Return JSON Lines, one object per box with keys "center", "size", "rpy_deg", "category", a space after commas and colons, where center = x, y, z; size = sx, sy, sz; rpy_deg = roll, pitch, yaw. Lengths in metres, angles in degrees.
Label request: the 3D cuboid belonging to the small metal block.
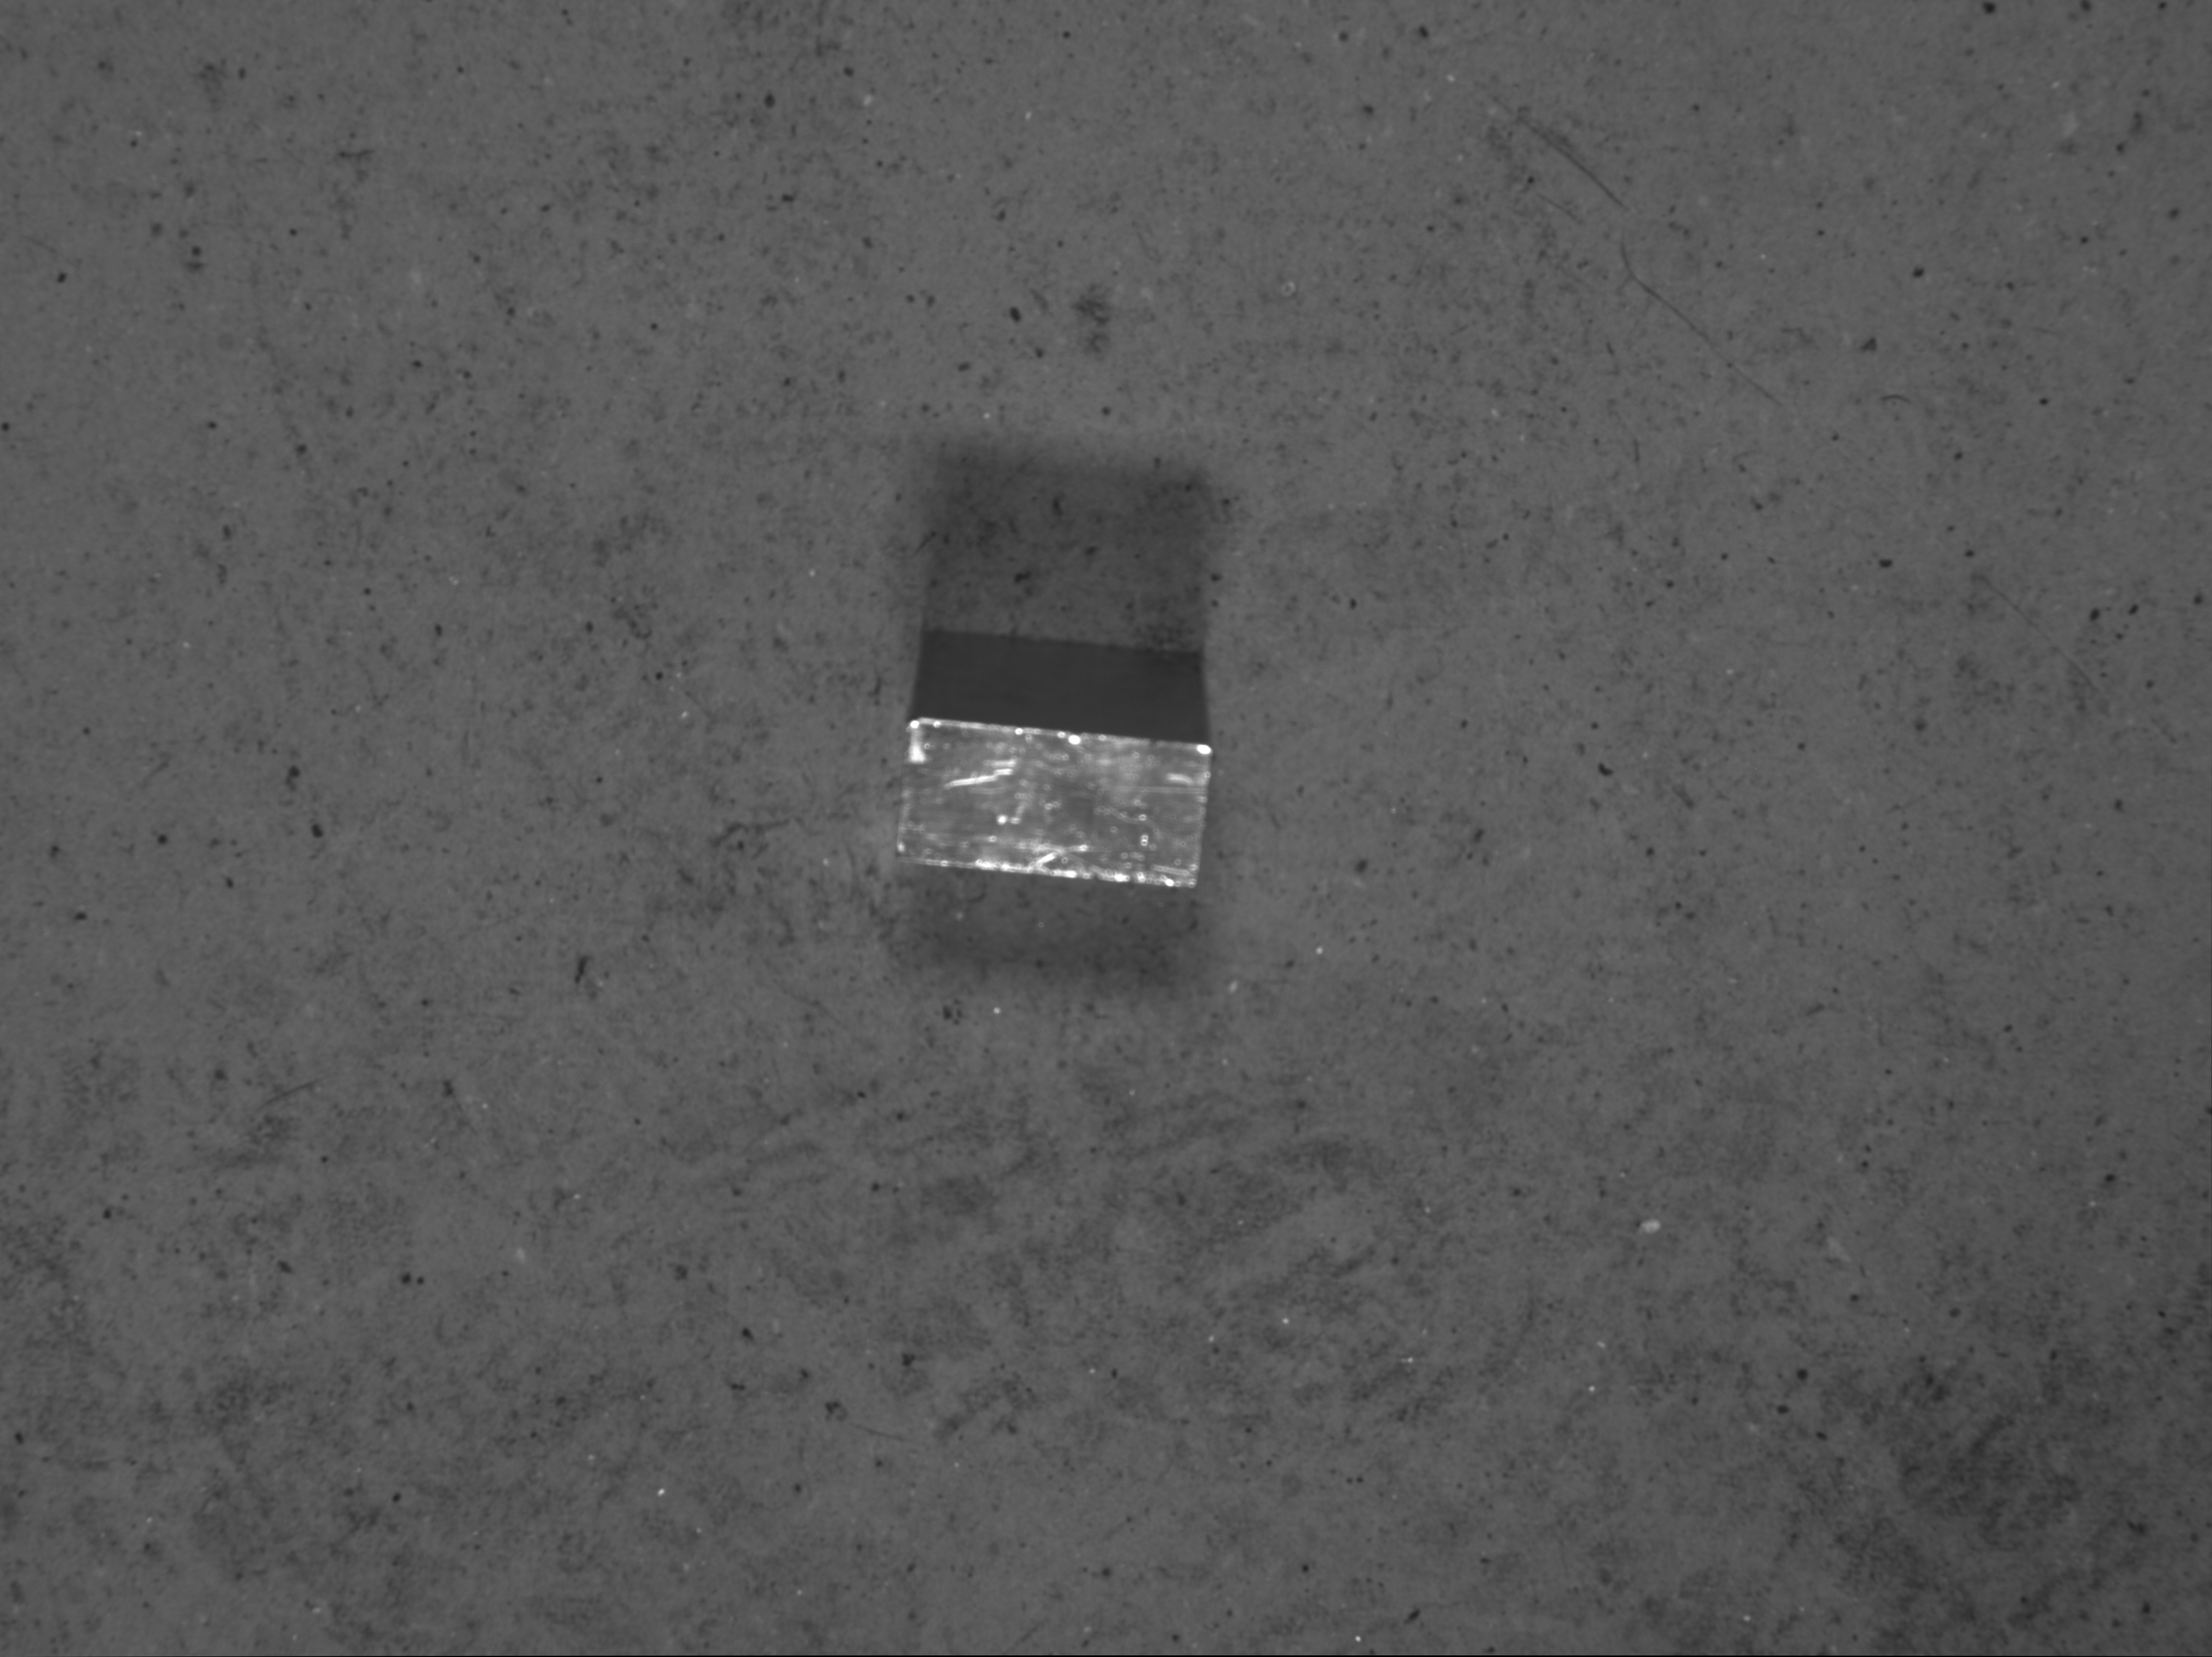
{"center": [-0.011, -0.012, 0.625], "size": [0.050, 0.050, 0.025], "rpy_deg": [5, 110, -2], "category": "small metal block"}
